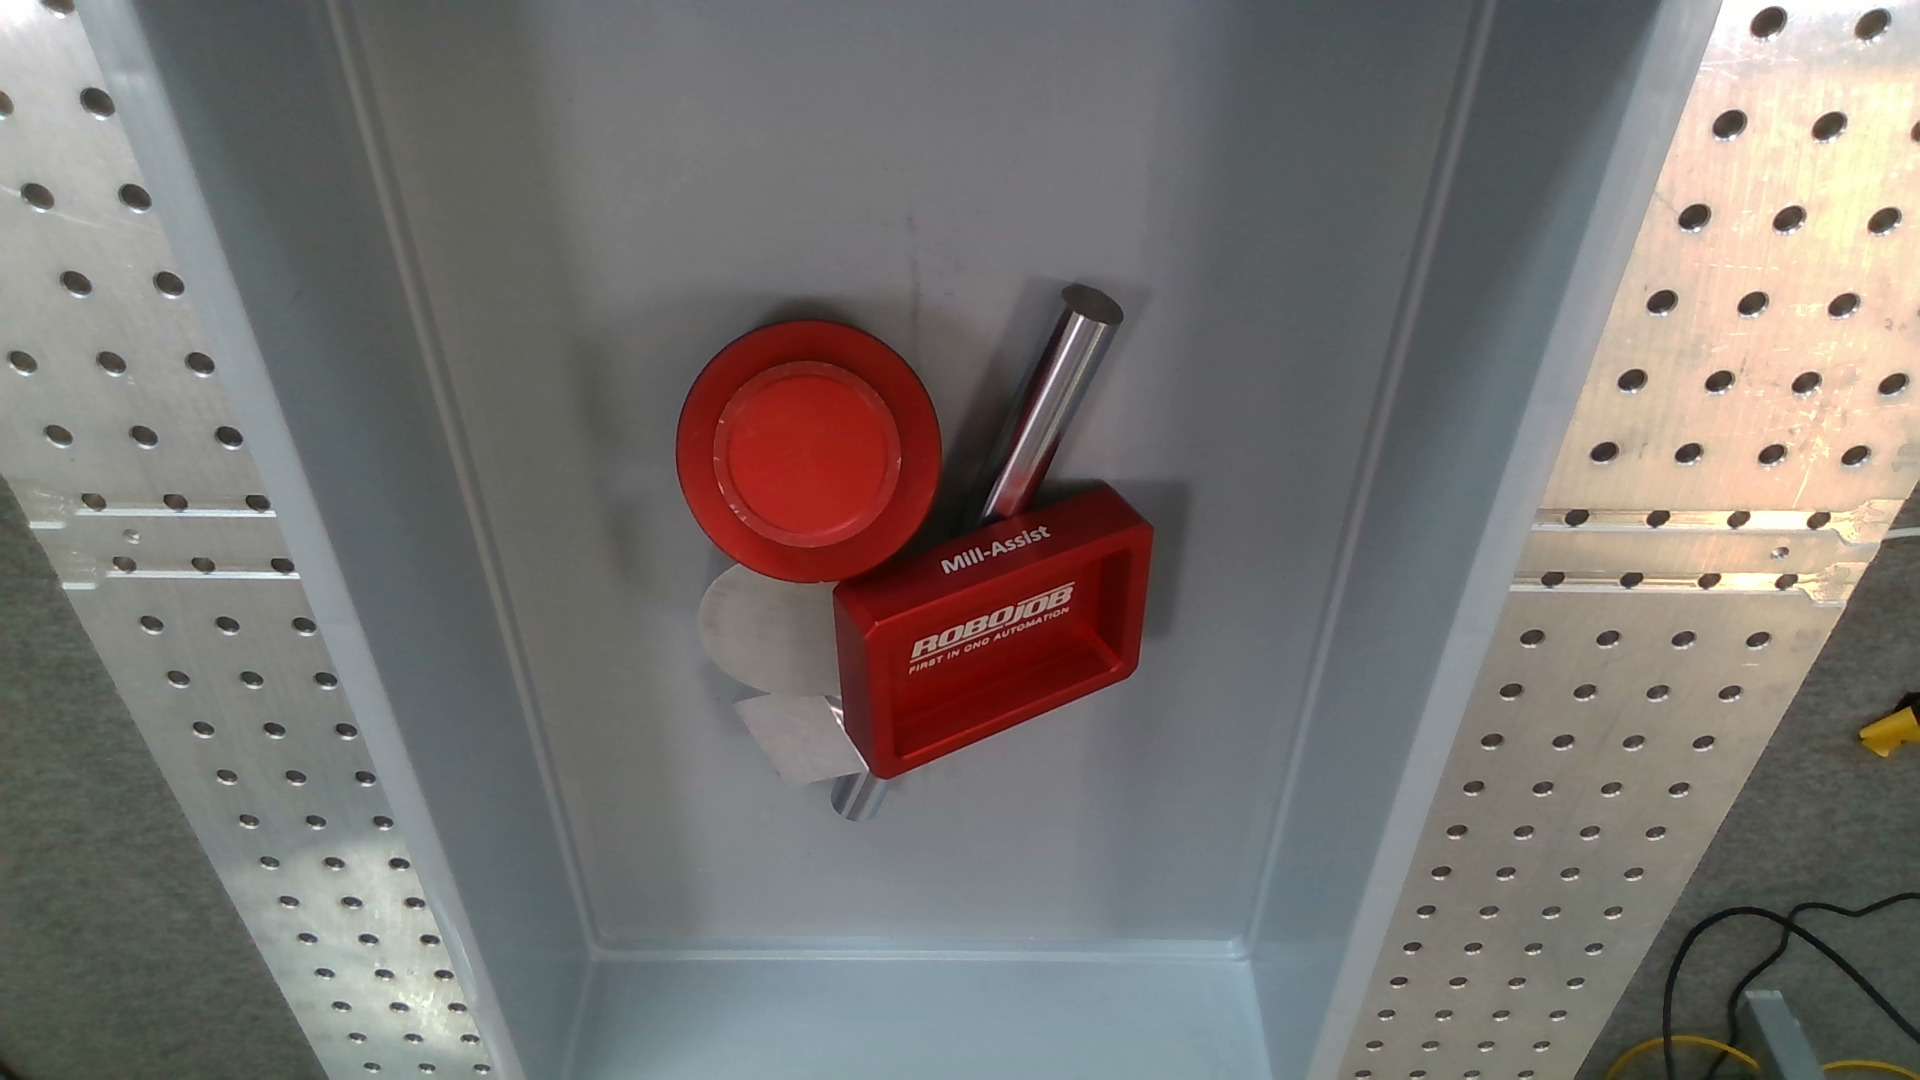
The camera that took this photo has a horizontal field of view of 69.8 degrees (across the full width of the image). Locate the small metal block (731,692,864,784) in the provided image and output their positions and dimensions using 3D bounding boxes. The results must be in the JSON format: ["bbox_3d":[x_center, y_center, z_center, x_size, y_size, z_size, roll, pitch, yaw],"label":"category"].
[{"bbox_3d":[-0.068,0.082,0.633,0.050,0.025,0.050,-16,114,33],"label":"small metal block"}]

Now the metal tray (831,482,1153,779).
[{"bbox_3d":[0.014,0.037,0.568,0.130,0.030,0.090,-20,134,-21],"label":"metal tray"}]

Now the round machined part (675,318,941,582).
[{"bbox_3d":[-0.056,-0.033,0.509,0.098,0.042,0.098,-1,97,-4],"label":"round machined part"}]

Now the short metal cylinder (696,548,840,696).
[{"bbox_3d":[-0.067,0.019,0.578,0.080,0.050,0.080,0,130,0],"label":"short metal cylinder"}]

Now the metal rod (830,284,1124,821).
[{"bbox_3d":[-0.002,0.022,0.596,0.025,0.025,0.301,15,128,-13],"label":"metal rod"}]
